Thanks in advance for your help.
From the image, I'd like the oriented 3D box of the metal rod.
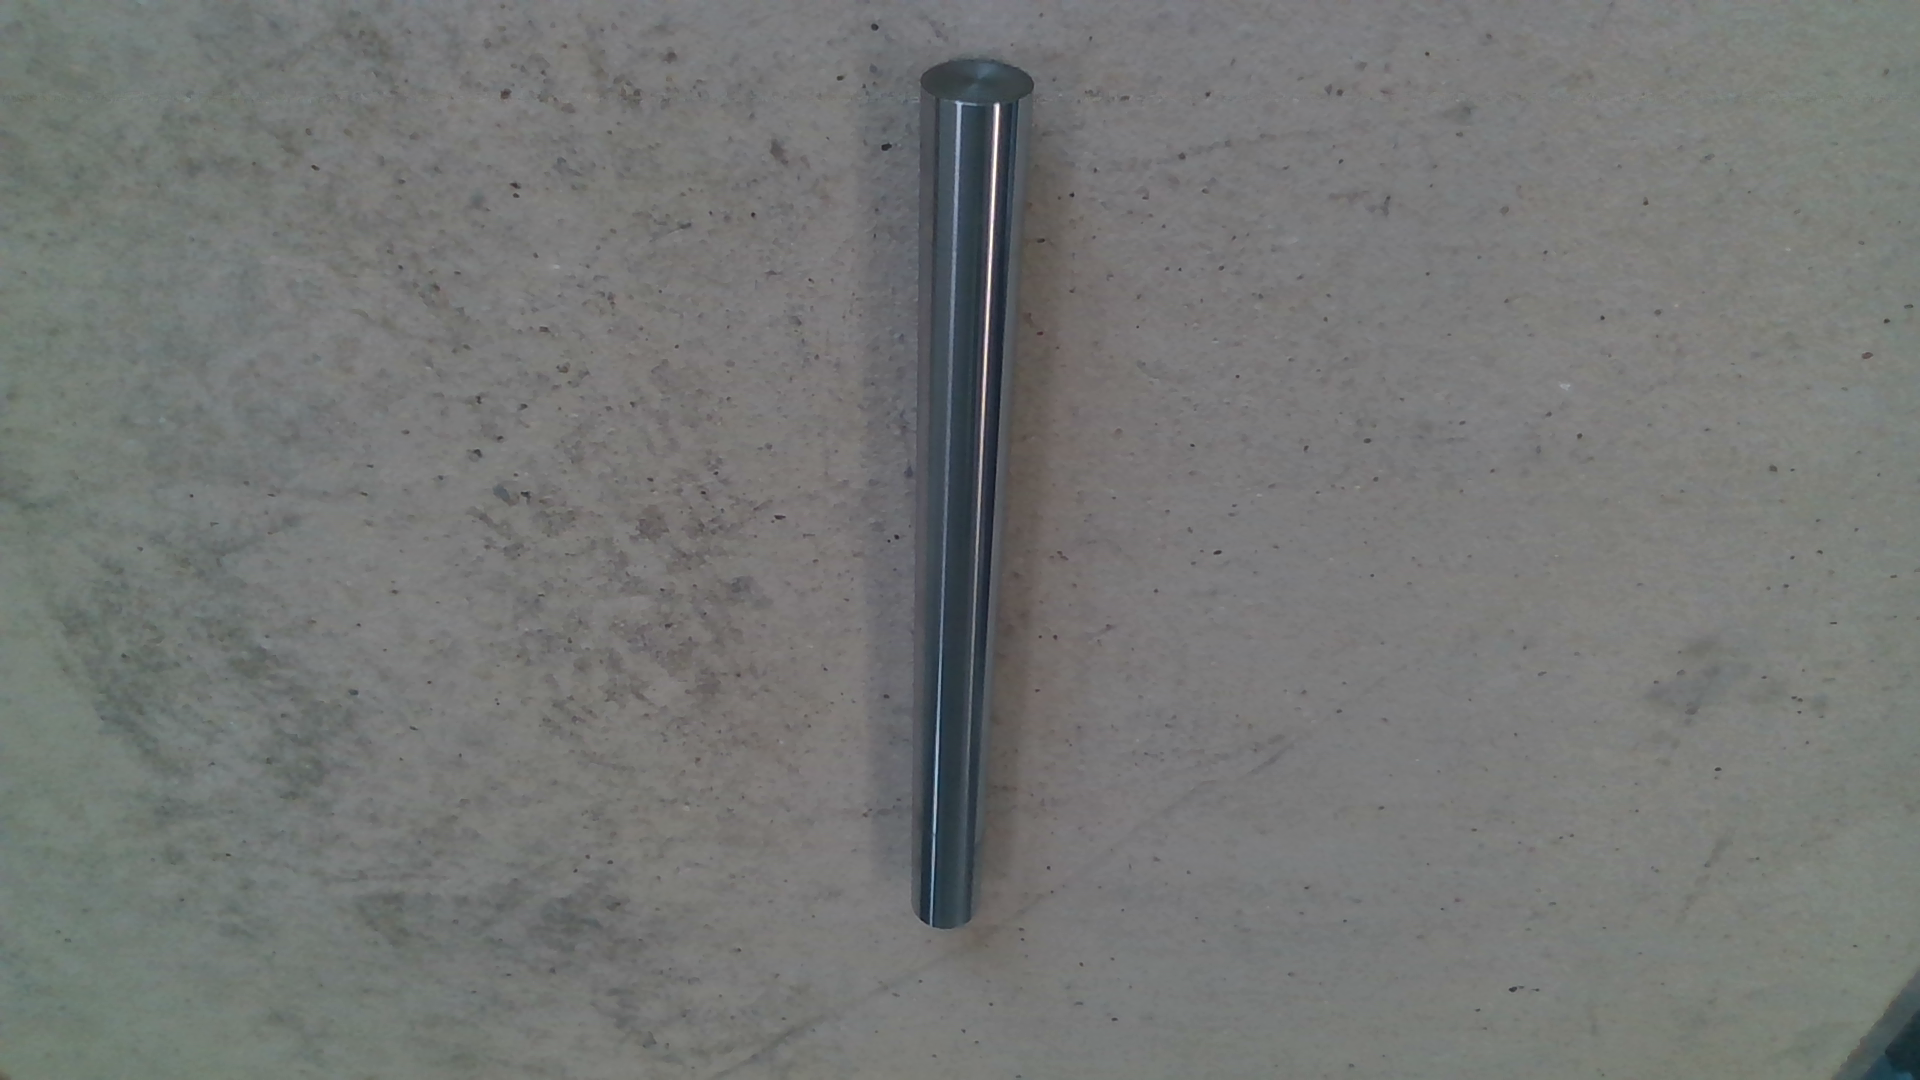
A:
[{"bbox_3d":[-0.001,0.013,0.399,0.025,0.025,0.301,1,130,-1],"label":"metal rod"}]
